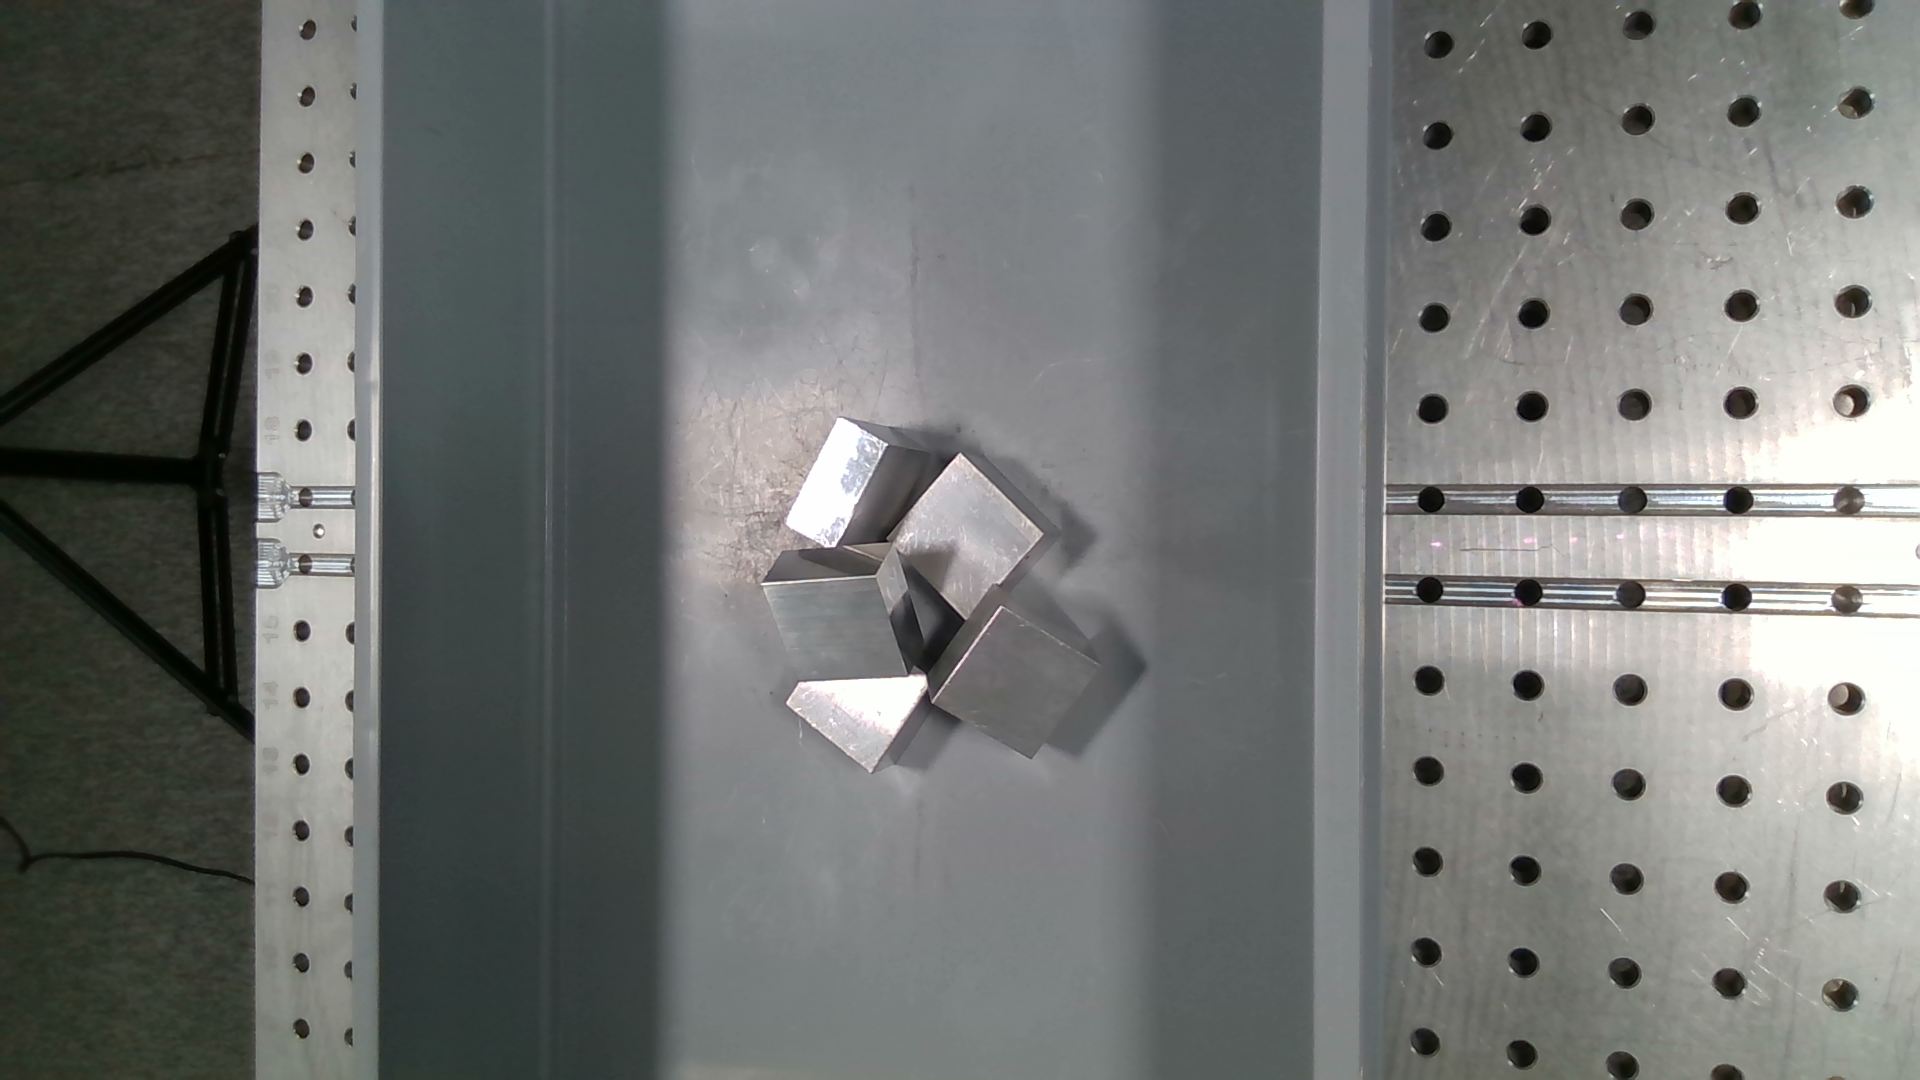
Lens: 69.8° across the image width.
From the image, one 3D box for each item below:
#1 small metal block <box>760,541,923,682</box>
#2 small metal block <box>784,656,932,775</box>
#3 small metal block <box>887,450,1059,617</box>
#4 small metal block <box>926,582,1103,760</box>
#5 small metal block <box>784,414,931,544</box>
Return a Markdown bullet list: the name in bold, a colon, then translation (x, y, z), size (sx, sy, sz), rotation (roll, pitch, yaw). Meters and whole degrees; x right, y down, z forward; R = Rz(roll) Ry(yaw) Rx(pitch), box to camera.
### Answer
- **small metal block**: translation (-0.048, 0.030, 0.563), size (0.050, 0.025, 0.050), rotation (-4, 121, 20)
- **small metal block**: translation (-0.040, 0.065, 0.599), size (0.050, 0.025, 0.050), rotation (37, 102, 16)
- **small metal block**: translation (0.005, -0.002, 0.581), size (0.050, 0.025, 0.050), rotation (45, 105, 14)
- **small metal block**: translation (0.022, 0.054, 0.565), size (0.050, 0.025, 0.050), rotation (31, 103, -16)
- **small metal block**: translation (-0.043, -0.024, 0.586), size (0.025, 0.050, 0.050), rotation (31, 101, 17)
